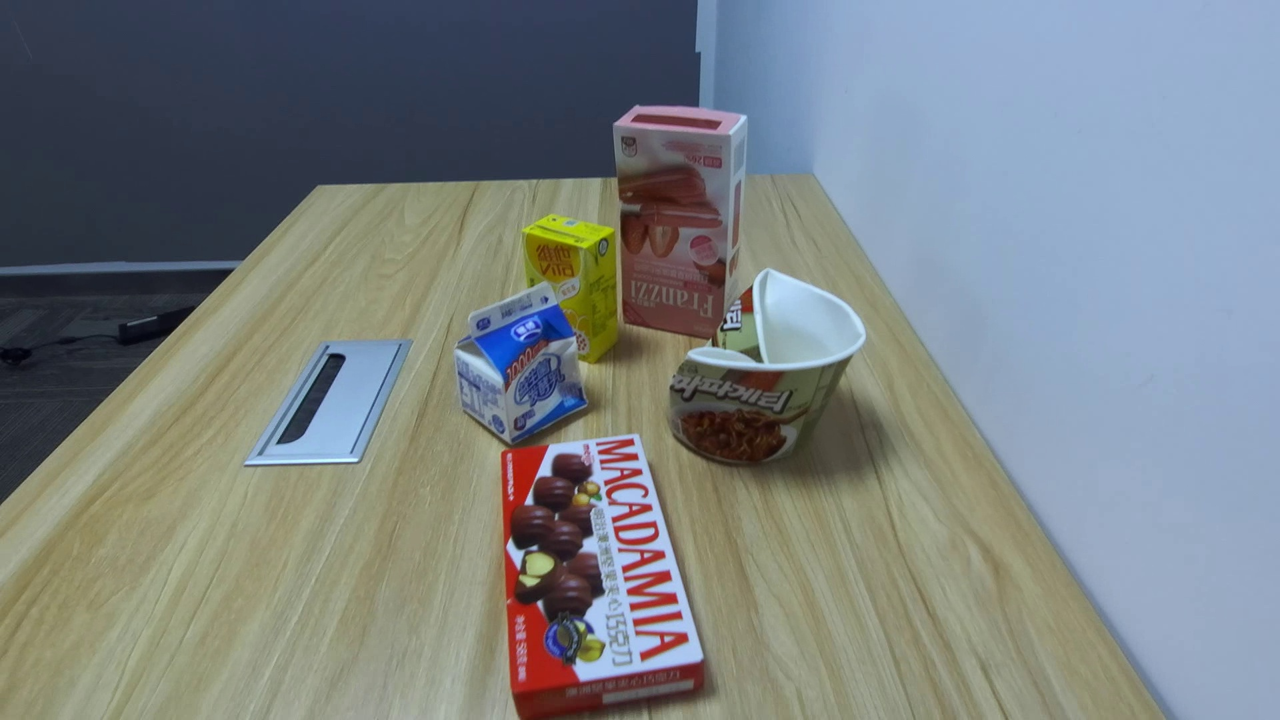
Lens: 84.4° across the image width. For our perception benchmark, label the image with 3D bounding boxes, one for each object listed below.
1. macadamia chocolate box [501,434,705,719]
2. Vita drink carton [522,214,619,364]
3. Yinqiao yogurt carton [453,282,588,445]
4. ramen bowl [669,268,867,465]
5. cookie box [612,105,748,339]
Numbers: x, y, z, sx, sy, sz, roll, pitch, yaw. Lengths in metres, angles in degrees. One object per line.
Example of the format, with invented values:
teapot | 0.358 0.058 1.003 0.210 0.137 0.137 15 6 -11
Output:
macadamia chocolate box | -0.029 0.114 0.412 0.096 0.027 0.177 -5 35 -9
Vita drink carton | -0.055 -0.059 0.587 0.066 0.109 0.044 19 38 26
Yinqiao yogurt carton | -0.088 -0.002 0.519 0.078 0.094 0.070 -26 36 -33
ramen bowl | 0.079 0.009 0.492 0.137 0.098 0.137 -2 37 2
cookie box | 0.030 -0.111 0.589 0.105 0.188 0.049 12 37 19
